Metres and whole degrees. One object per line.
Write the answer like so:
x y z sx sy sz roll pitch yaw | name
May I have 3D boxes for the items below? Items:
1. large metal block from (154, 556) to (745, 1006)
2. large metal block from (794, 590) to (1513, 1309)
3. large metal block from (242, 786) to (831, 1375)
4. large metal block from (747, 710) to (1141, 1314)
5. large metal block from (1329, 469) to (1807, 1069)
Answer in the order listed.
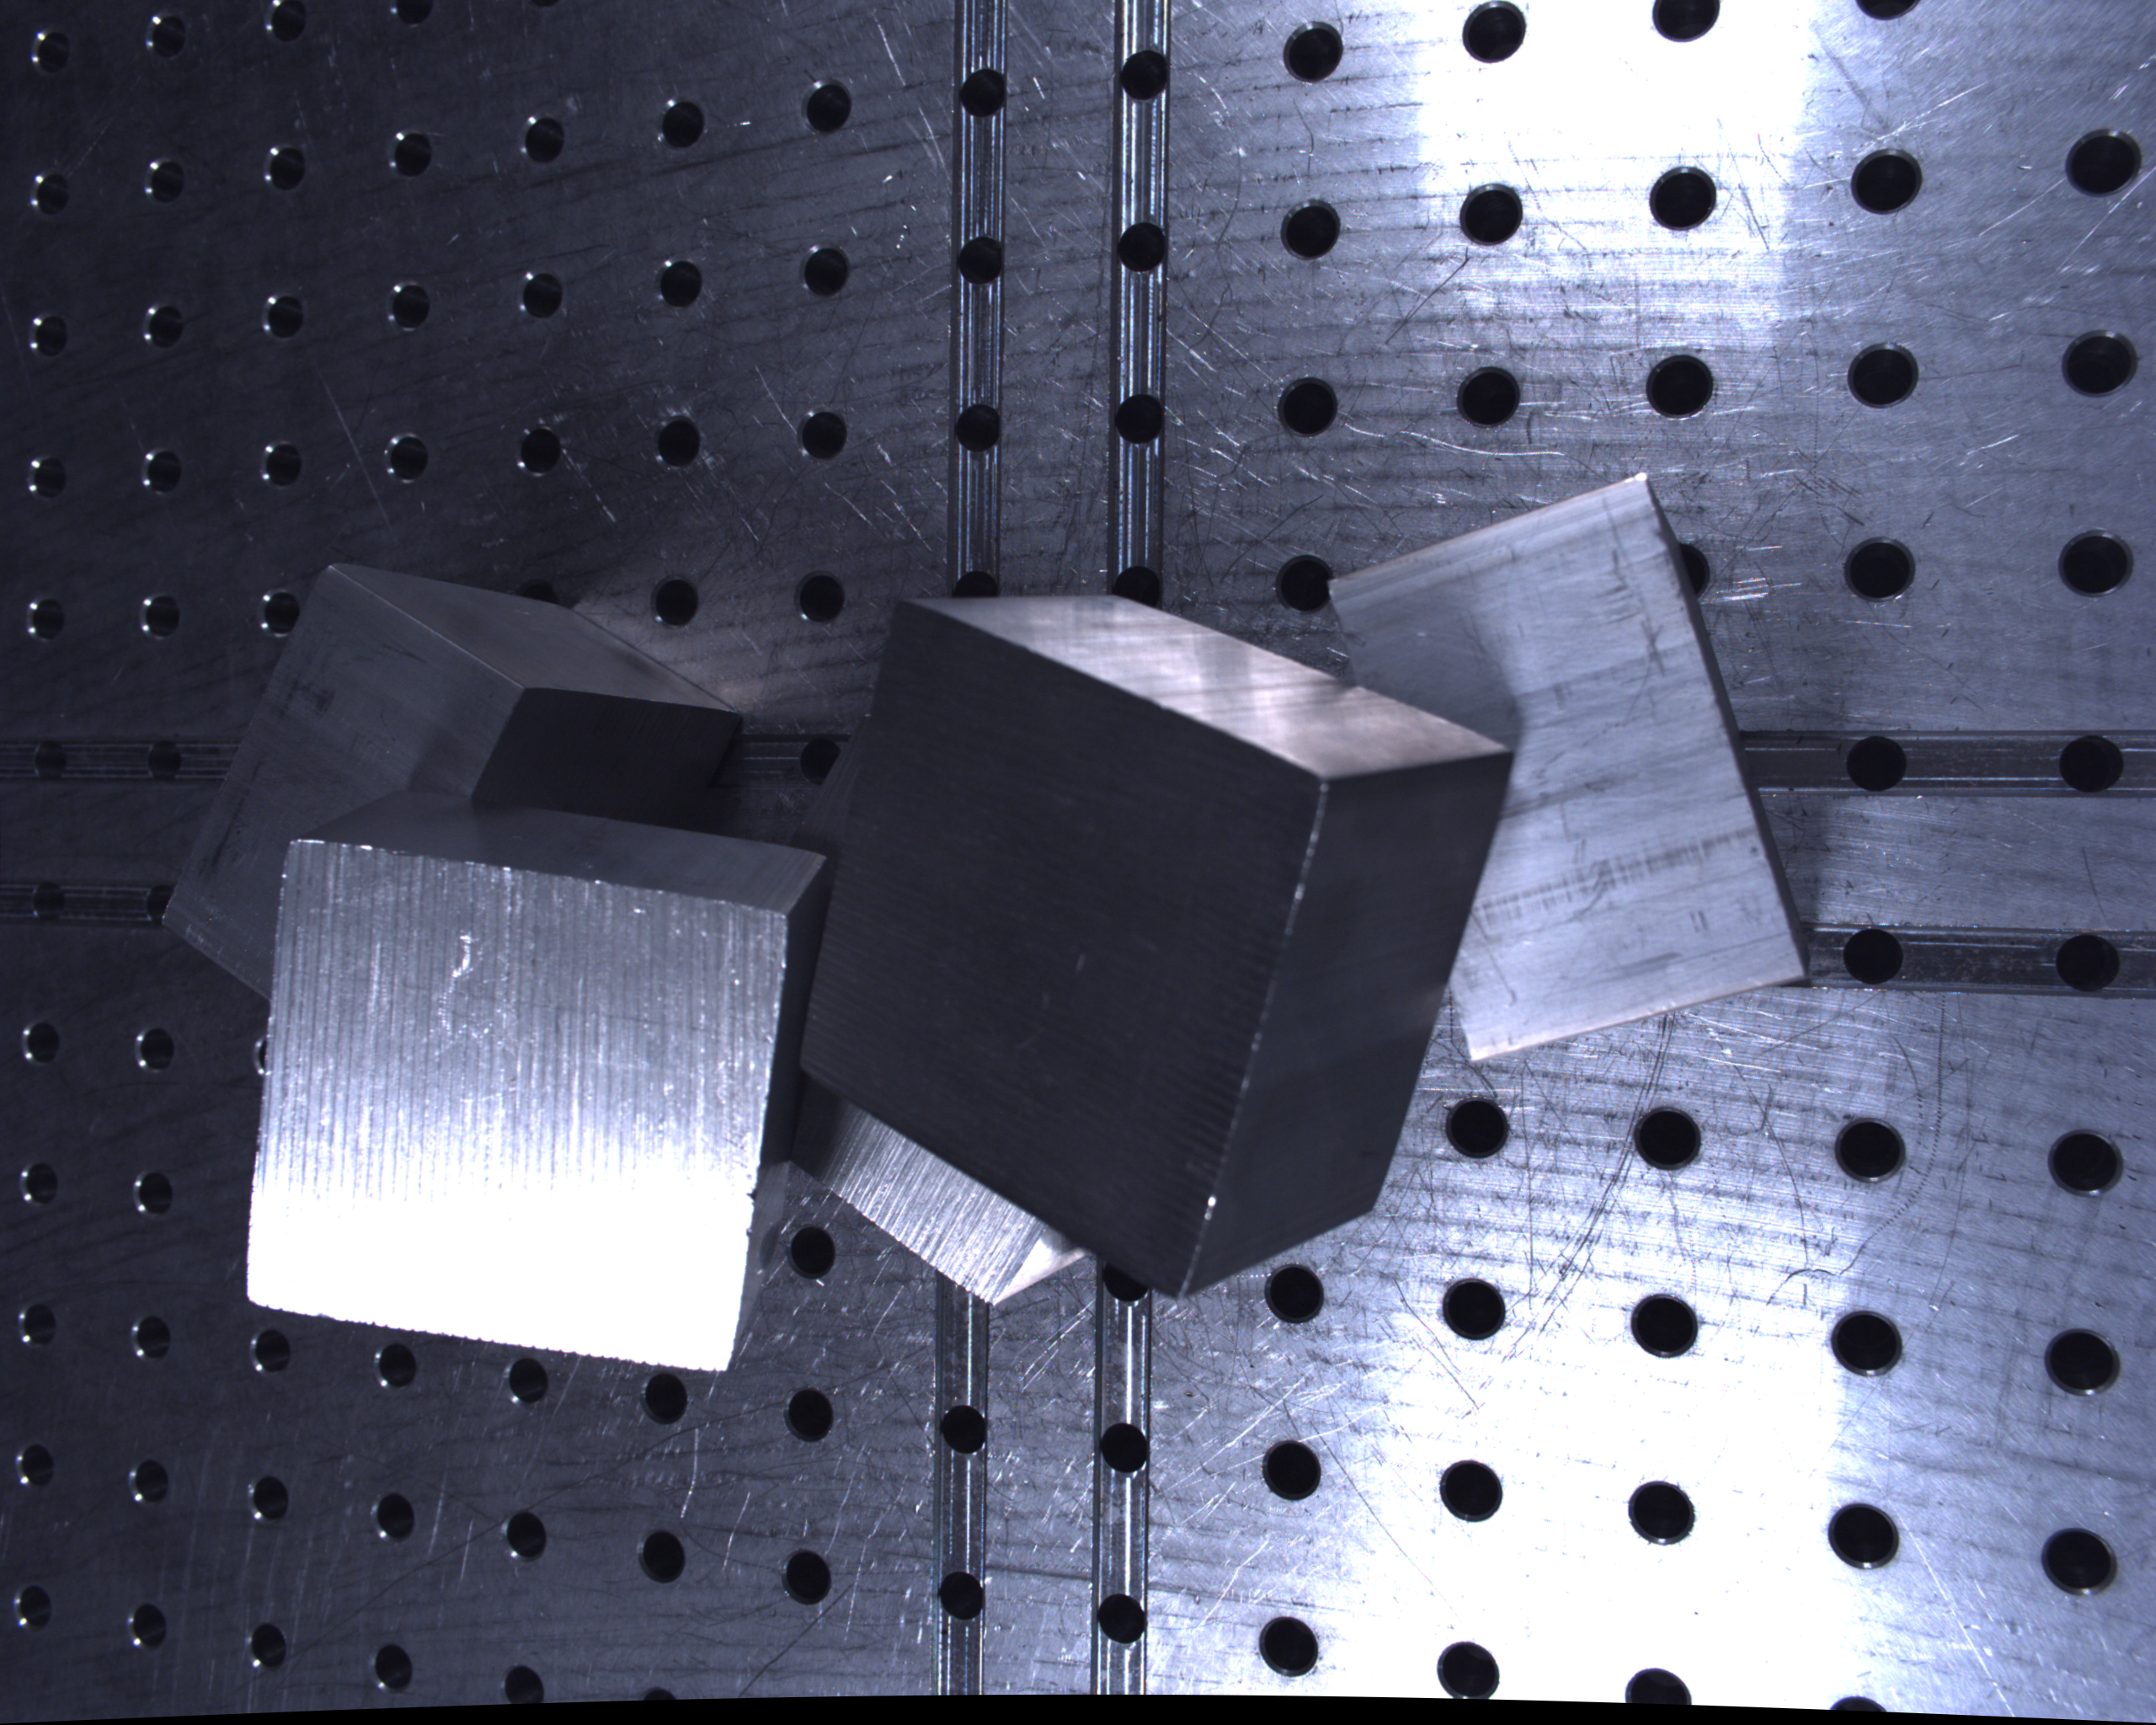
-0.125 -0.010 0.425 0.050 0.080 0.080 31 100 17 | large metal block
0.009 0.008 0.321 0.080 0.050 0.079 26 112 33 | large metal block
-0.091 0.035 0.360 0.081 0.050 0.079 9 100 -2 | large metal block
-0.018 0.026 0.404 0.080 0.050 0.080 34 101 16 | large metal block
0.086 -0.014 0.352 0.050 0.080 0.080 -17 85 19 | large metal block
